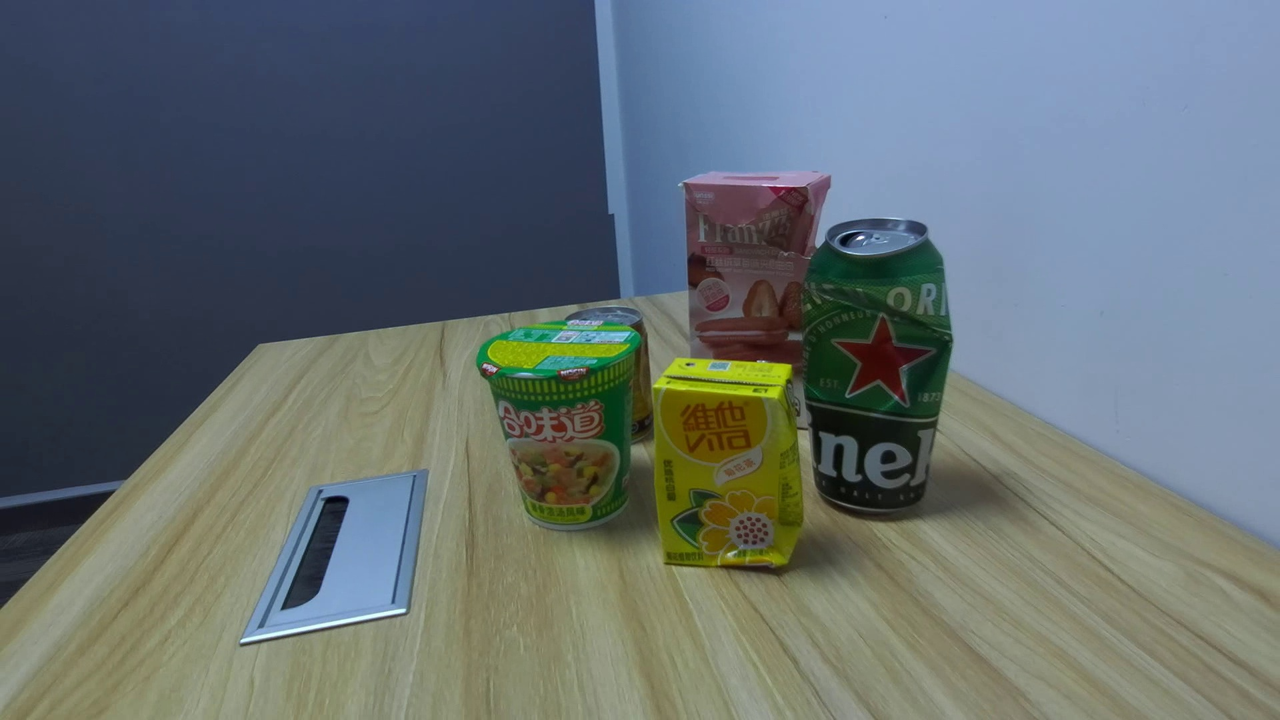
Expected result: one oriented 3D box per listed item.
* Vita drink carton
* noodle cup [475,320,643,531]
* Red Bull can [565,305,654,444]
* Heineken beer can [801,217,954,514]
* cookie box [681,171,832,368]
[{"bbox_3d":[0.049,0.057,0.374,0.076,0.109,0.043,4,22,20],"label":"Vita drink carton"},{"bbox_3d":[-0.045,0.041,0.437,0.097,0.110,0.097,-3,22,1],"label":"noodle cup"},{"bbox_3d":[-0.024,0.011,0.538,0.068,0.093,0.068,-3,12,1],"label":"Red Bull can"},{"bbox_3d":[0.134,0.008,0.408,0.069,0.168,0.068,-12,23,-12],"label":"Heineken beer can"},{"bbox_3d":[0.086,-0.044,0.531,0.104,0.186,0.059,7,26,26],"label":"cookie box"}]
